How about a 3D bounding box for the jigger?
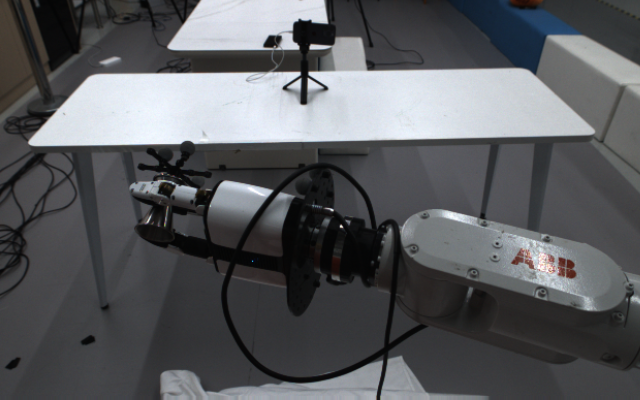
[{"bbox_3d":[-0.182,0.009,0.557,0.043,0.043,0.071,6,60,5],"label":"jigger"}]
